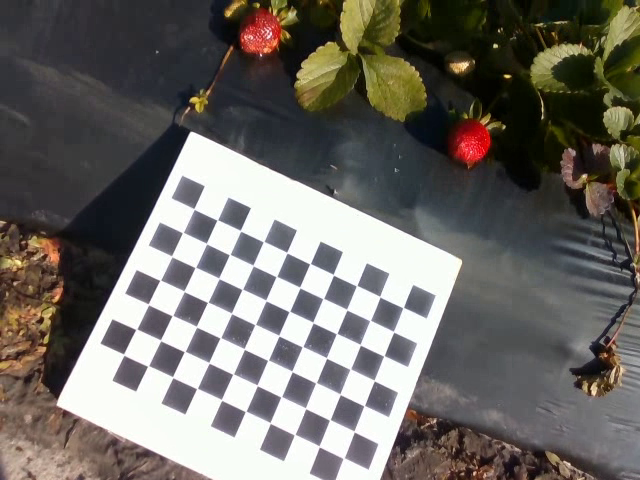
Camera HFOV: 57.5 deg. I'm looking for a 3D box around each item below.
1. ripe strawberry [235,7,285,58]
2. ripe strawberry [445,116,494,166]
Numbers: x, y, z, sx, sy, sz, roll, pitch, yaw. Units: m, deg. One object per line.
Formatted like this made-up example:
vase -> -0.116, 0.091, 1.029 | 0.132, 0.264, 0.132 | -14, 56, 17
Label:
ripe strawberry -> -0.054, -0.176, 0.517 | 0.041, 0.043, 0.053 | 36, 37, -2
ripe strawberry -> 0.129, -0.081, 0.510 | 0.043, 0.043, 0.050 | -32, -2, 34
